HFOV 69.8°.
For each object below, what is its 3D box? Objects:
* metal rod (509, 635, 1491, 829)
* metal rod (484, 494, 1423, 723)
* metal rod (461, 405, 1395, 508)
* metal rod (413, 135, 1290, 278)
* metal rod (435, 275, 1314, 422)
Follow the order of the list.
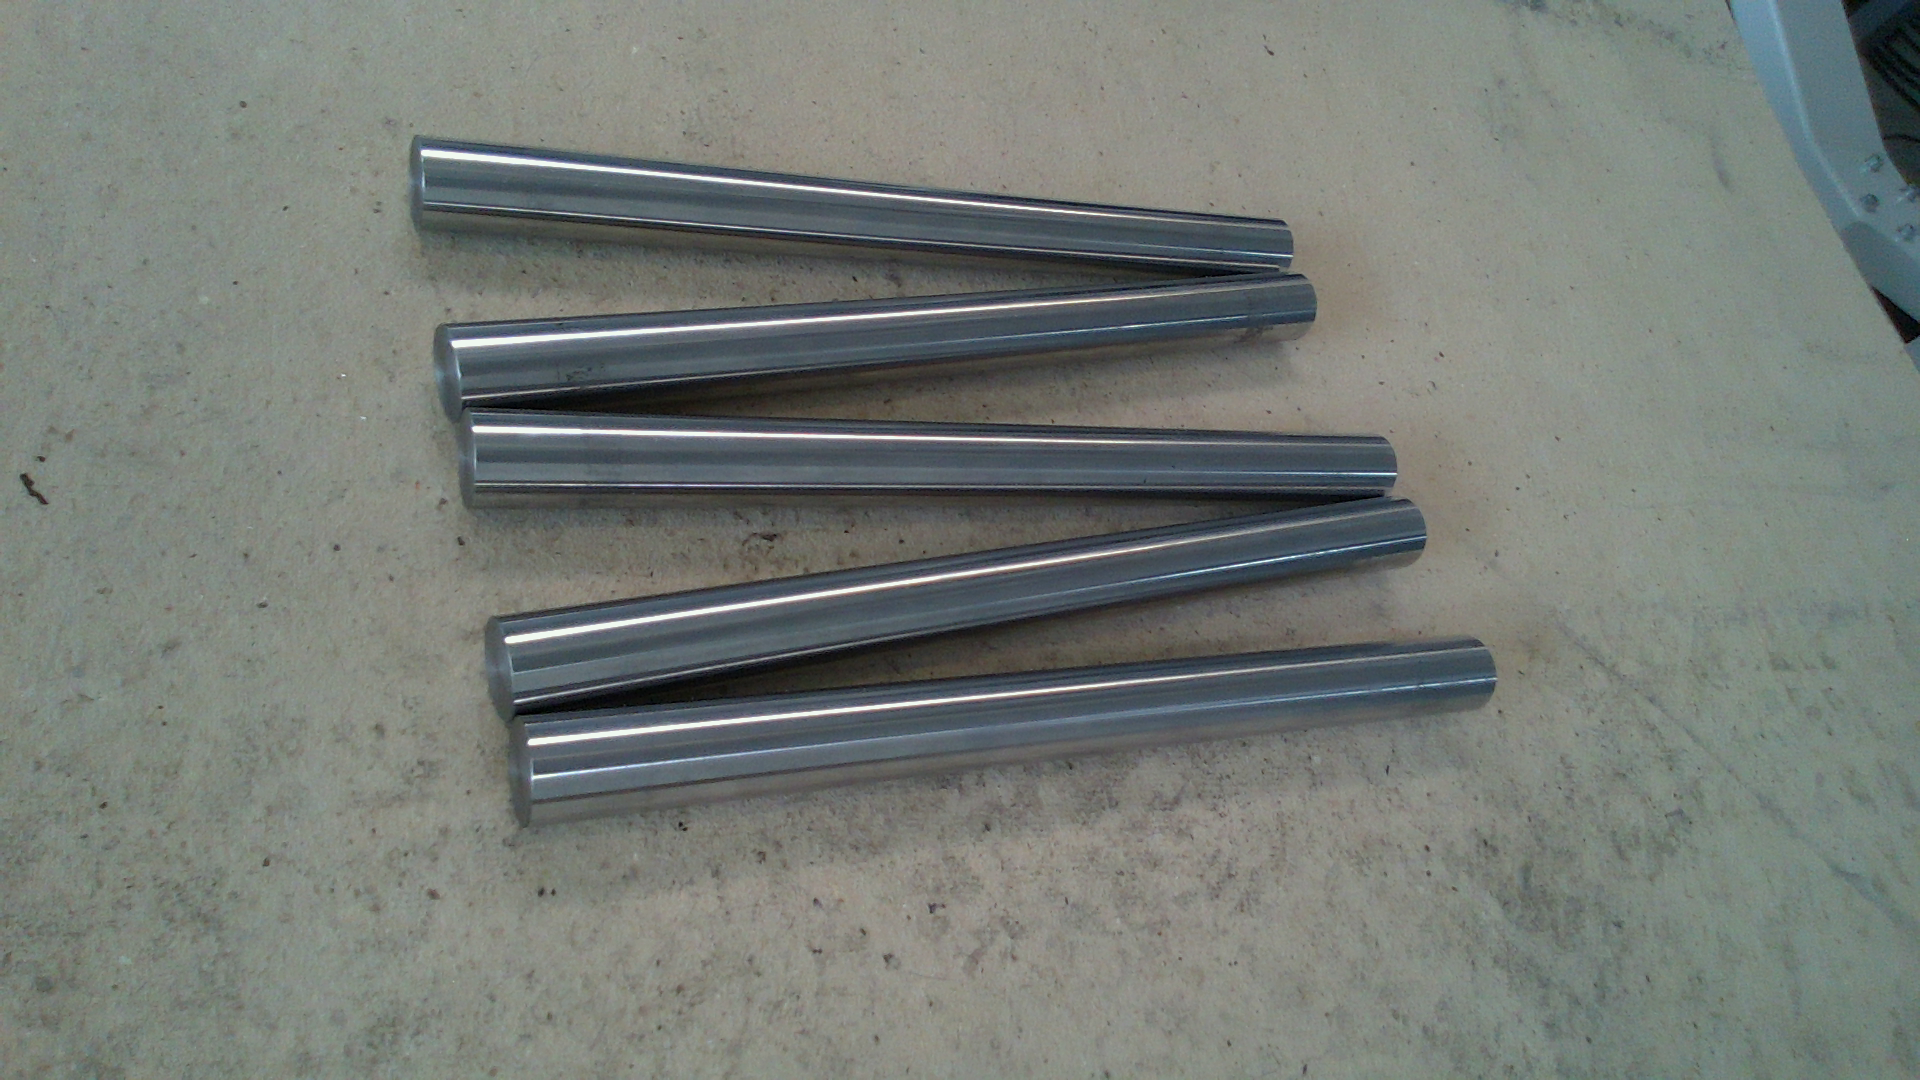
[{"bbox_3d":[0.033,0.047,0.379,0.301,0.025,0.025,-2,62,-29],"label":"metal rod"},{"bbox_3d":[0.021,0.013,0.393,0.301,0.025,0.025,-7,65,-31],"label":"metal rod"},{"bbox_3d":[0.011,-0.023,0.409,0.301,0.025,0.025,-1,62,-29],"label":"metal rod"},{"bbox_3d":[-0.015,-0.102,0.444,0.301,0.025,0.025,-3,63,-30],"label":"metal rod"},{"bbox_3d":[-0.004,-0.064,0.427,0.301,0.025,0.025,-10,67,-32],"label":"metal rod"}]
